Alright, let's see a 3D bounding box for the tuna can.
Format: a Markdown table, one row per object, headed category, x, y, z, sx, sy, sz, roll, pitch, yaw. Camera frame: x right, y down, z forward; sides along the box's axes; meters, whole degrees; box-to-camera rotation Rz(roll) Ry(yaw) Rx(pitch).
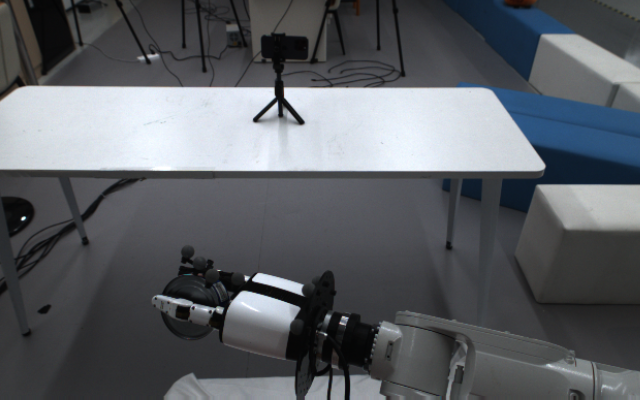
| category | x | y | z | sx | sy | sz | roll | pitch | yaw |
| --- | --- | --- | --- | --- | --- | --- | --- | --- | --- |
| tuna can | -0.161 | 0.137 | 0.634 | 0.085 | 0.085 | 0.034 | 13 | 2 | 16 |
